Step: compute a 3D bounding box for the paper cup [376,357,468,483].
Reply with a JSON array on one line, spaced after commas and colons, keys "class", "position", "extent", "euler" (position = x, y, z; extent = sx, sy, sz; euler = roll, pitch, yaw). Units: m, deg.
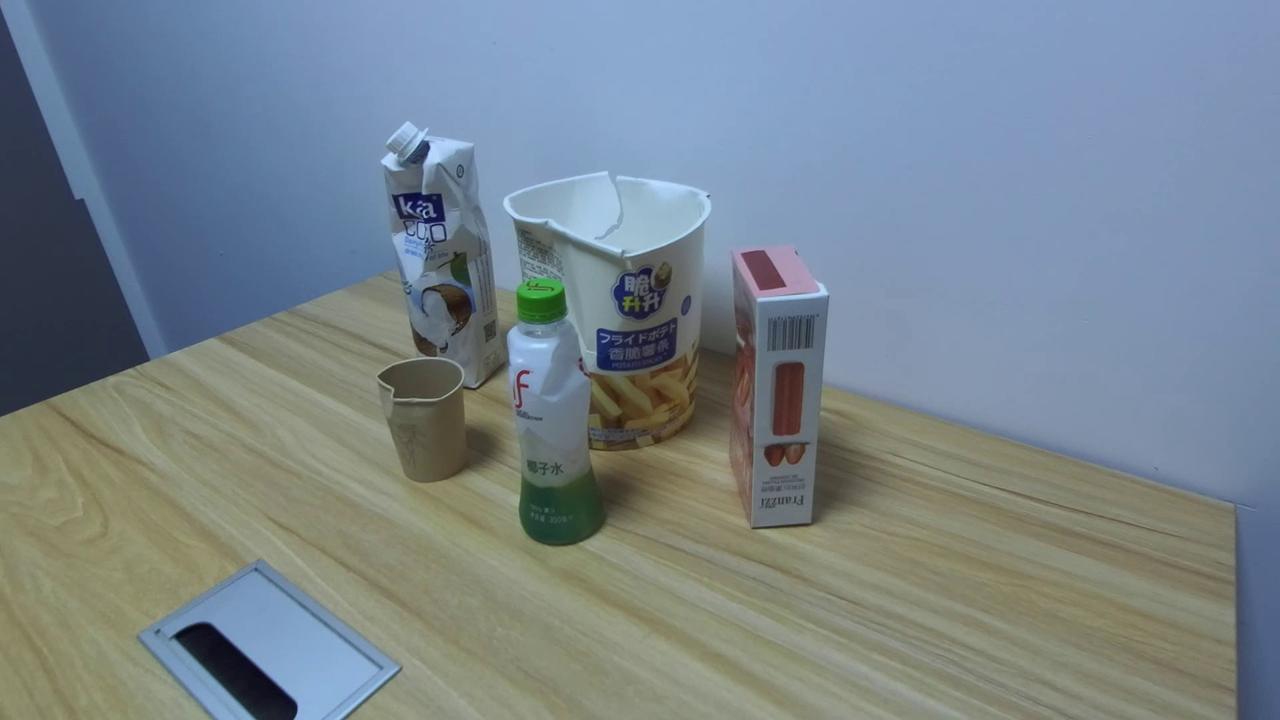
[{"class": "paper cup", "position": [-0.176, 0.050, 0.585], "extent": [0.073, 0.081, 0.068], "euler": [-2, 27, 0]}]

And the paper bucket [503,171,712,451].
[{"class": "paper bucket", "position": [-0.025, -0.046, 0.624], "extent": [0.146, 0.197, 0.201], "euler": [-26, 38, -37]}]

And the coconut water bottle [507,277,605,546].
[{"class": "coconut water bottle", "position": [-0.060, 0.037, 0.488], "extent": [0.069, 0.186, 0.069], "euler": [-1, 30, 1]}]

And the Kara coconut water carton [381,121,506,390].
[{"class": "Kara coconut water carton", "position": [-0.189, -0.098, 0.673], "extent": [0.083, 0.256, 0.078], "euler": [15, 34, 29]}]

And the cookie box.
[{"class": "cookie box", "position": [0.097, 0.017, 0.515], "extent": [0.049, 0.188, 0.105], "euler": [-4, 28, 0]}]
